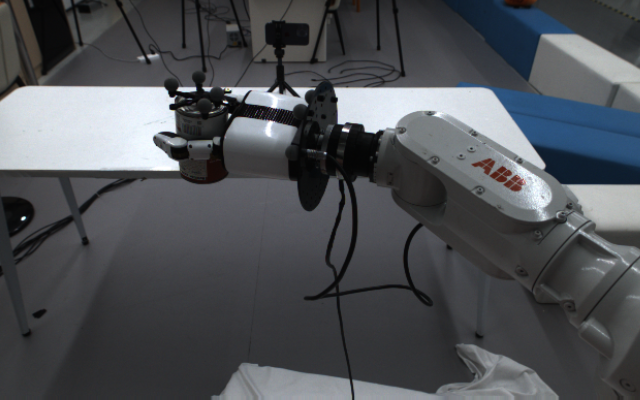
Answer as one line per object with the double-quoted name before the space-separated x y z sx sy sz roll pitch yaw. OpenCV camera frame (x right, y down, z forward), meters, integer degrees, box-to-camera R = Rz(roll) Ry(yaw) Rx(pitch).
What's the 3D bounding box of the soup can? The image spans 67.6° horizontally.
"soup can" -0.152 -0.079 0.630 0.067 0.101 0.067 5 37 -4
